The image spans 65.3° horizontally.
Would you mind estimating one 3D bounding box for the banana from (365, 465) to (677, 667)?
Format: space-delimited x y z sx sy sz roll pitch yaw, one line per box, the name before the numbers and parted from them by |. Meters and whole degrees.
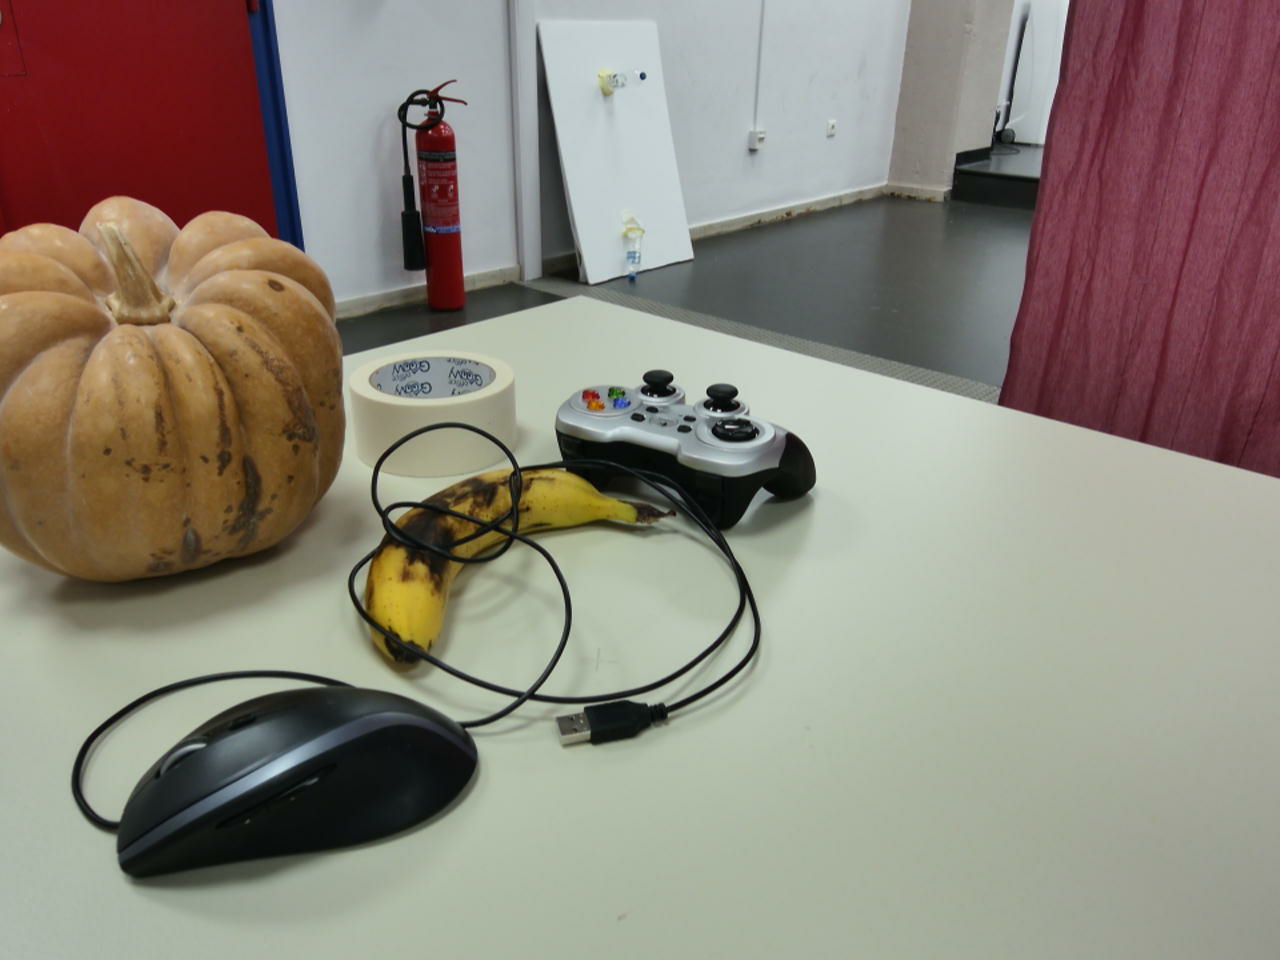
banana | -0.076 0.030 0.515 0.094 0.039 0.187 19 30 35
